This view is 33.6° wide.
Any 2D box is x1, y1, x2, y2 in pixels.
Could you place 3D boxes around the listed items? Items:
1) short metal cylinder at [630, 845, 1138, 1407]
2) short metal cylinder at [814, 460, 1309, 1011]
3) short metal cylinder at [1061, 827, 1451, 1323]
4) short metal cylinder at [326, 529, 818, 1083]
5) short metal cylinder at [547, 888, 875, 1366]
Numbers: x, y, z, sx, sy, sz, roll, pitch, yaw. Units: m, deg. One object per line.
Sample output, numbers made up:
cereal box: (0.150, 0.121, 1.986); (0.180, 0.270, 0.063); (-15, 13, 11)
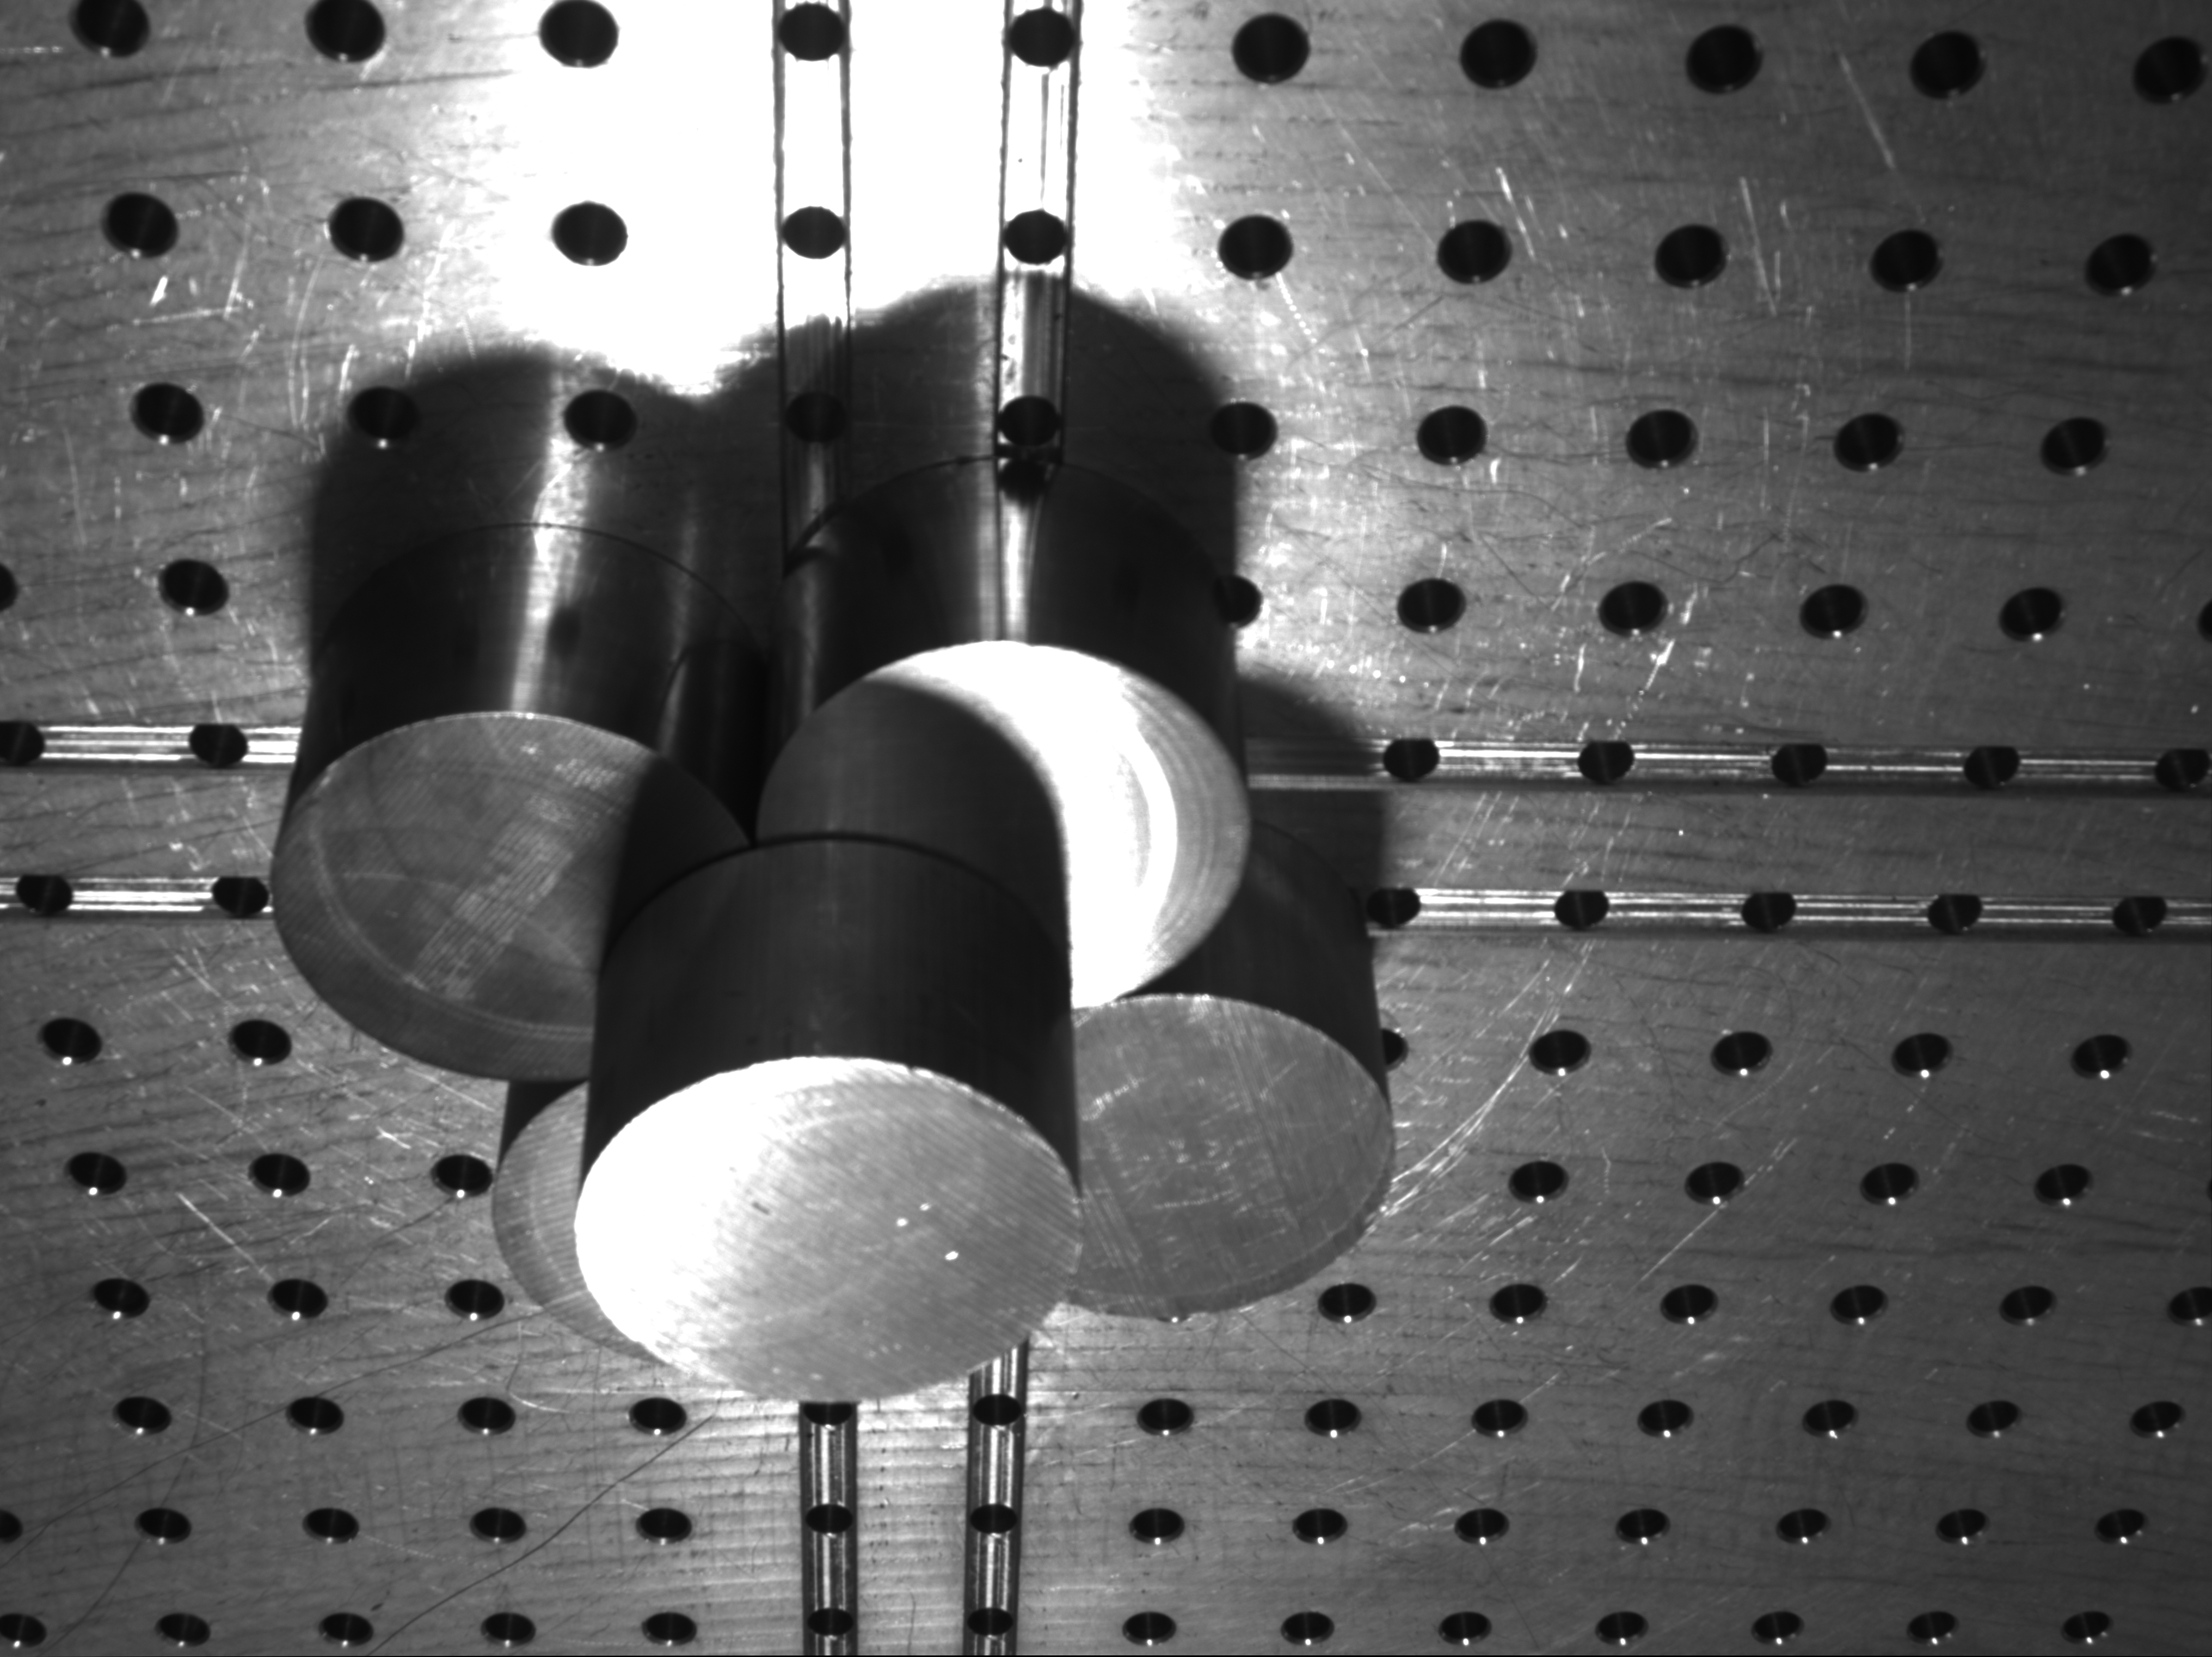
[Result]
short metal cylinder: (-0.036, 0.049, 0.598); (0.080, 0.050, 0.080); (-2, 131, -2)
short metal cylinder: (-0.008, -0.014, 0.612); (0.080, 0.050, 0.080); (-1, 130, -1)
short metal cylinder: (0.020, 0.043, 0.661); (0.080, 0.050, 0.080); (-1, 130, -1)
short metal cylinder: (-0.088, -0.003, 0.618); (0.080, 0.050, 0.080); (-1, 130, -1)
short metal cylinder: (-0.059, 0.054, 0.667); (0.080, 0.050, 0.080); (-1, 130, -1)
